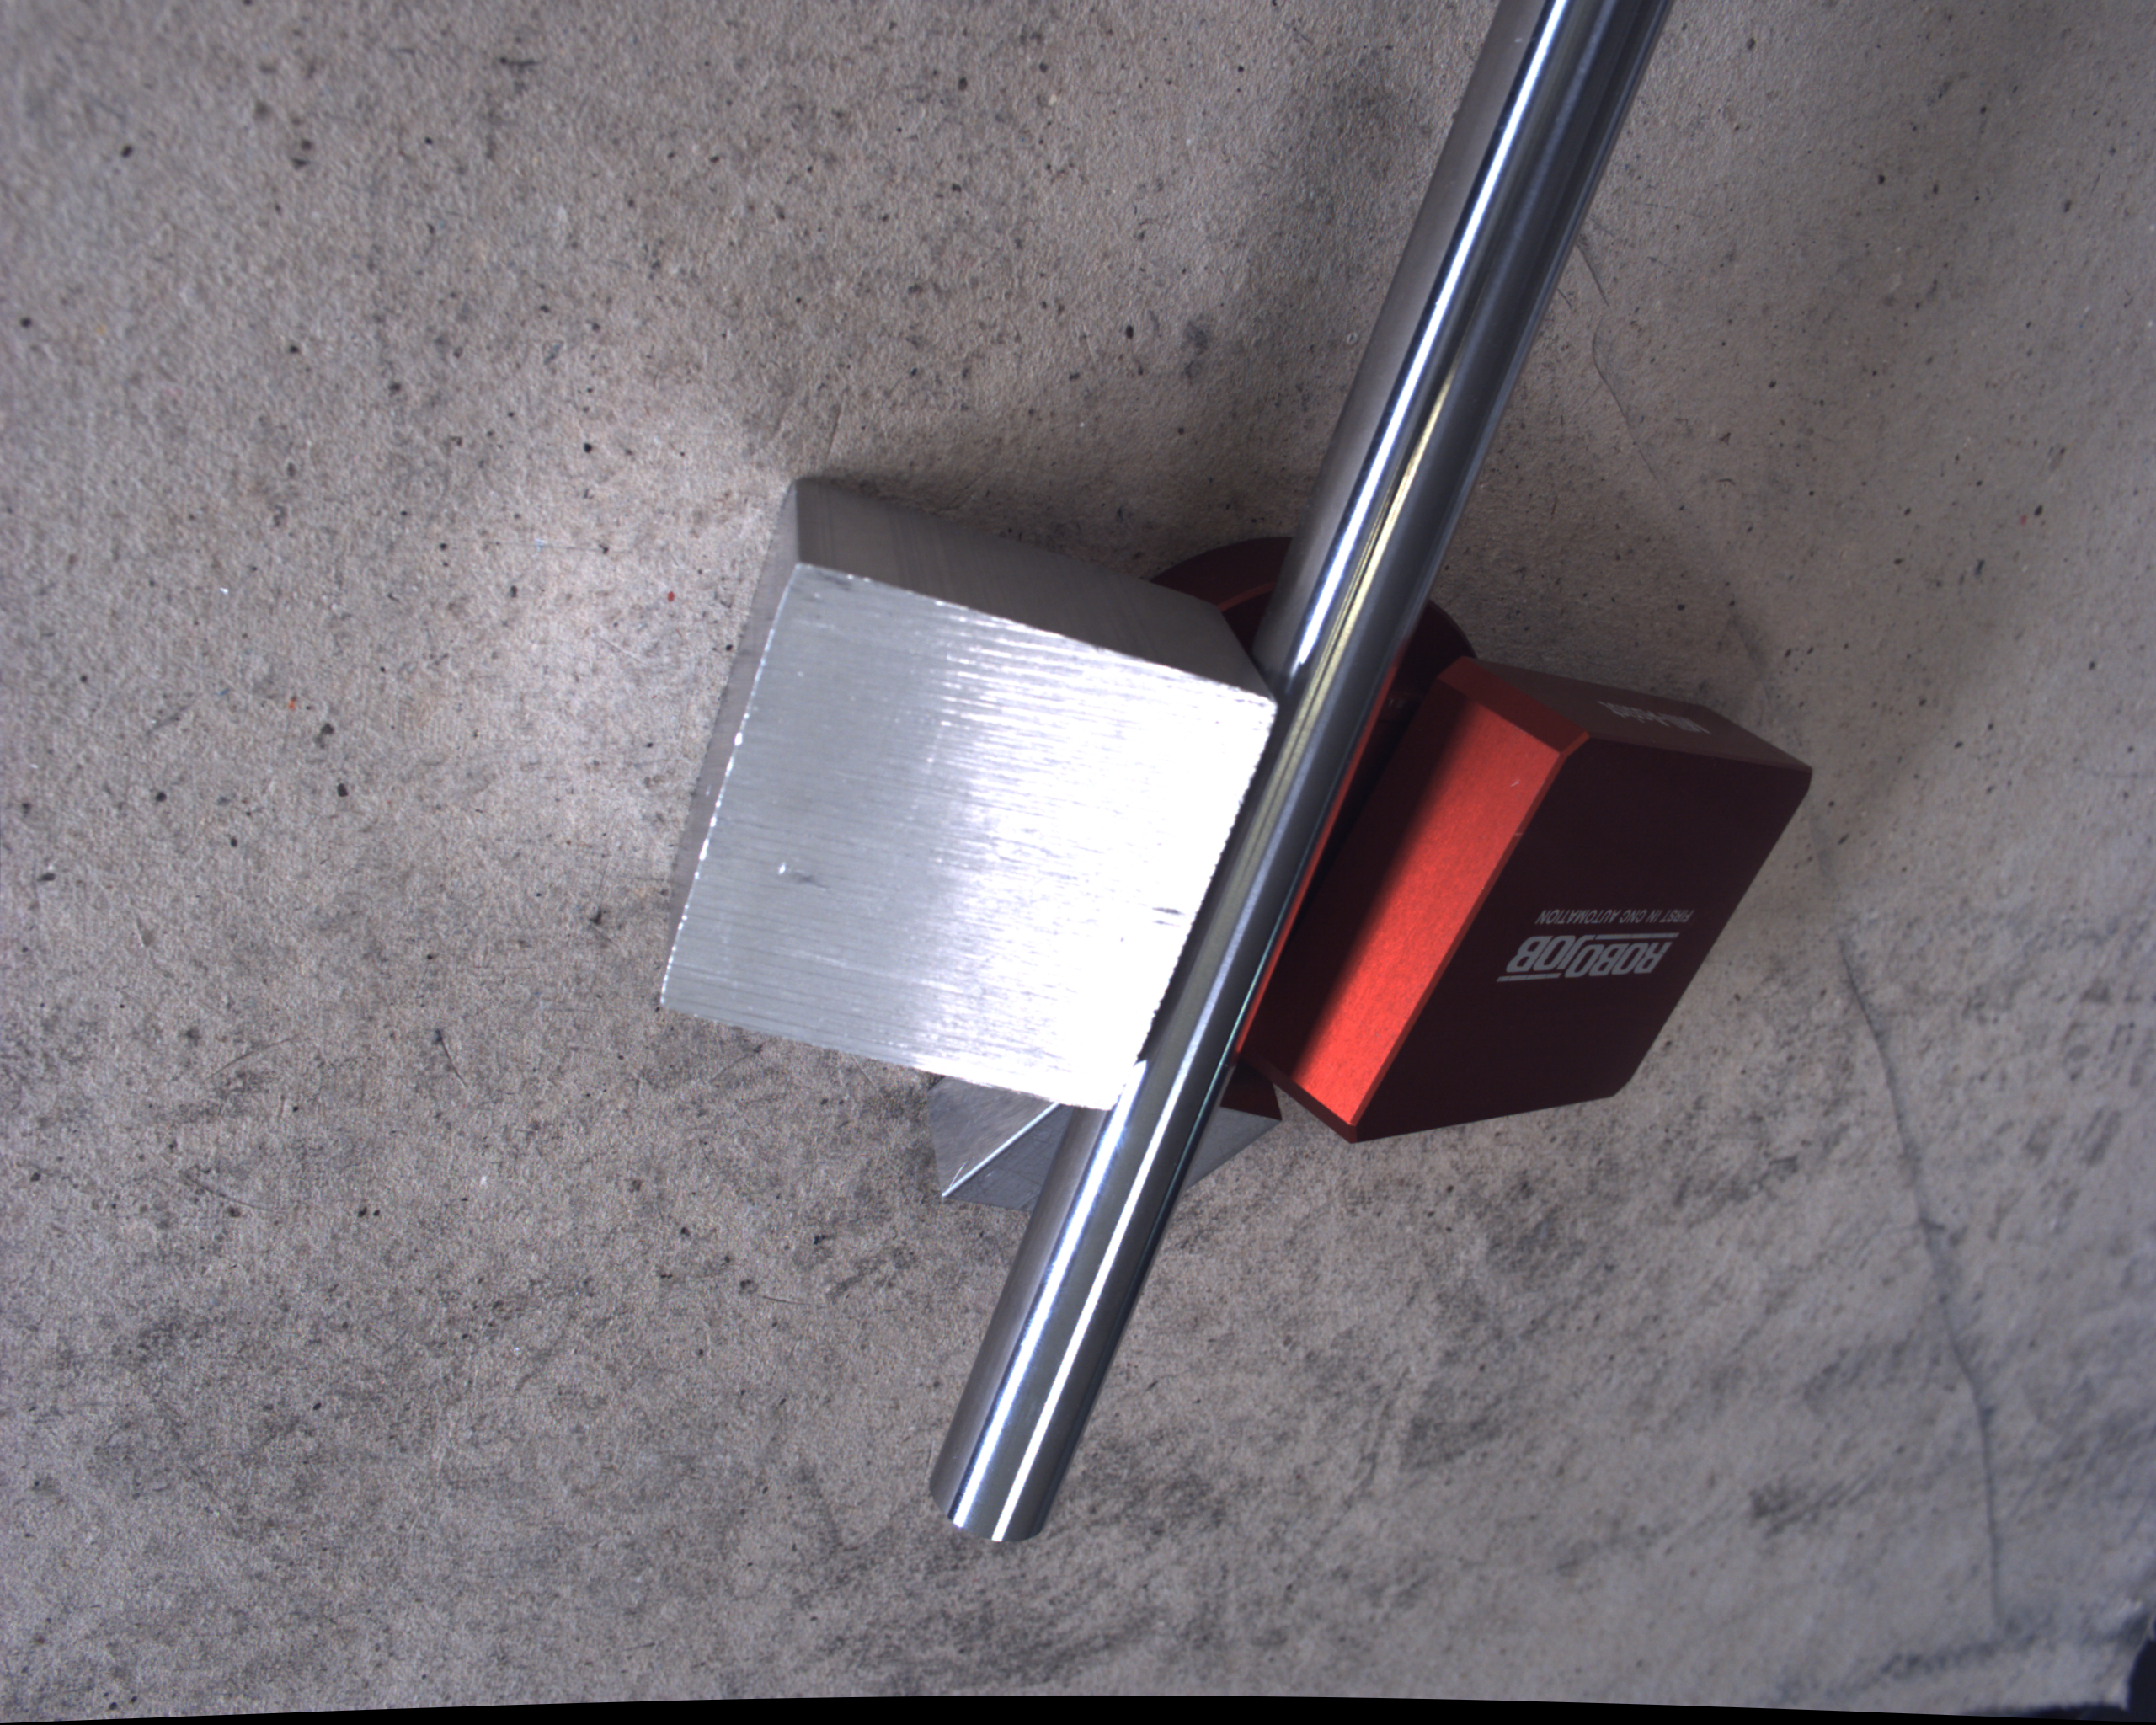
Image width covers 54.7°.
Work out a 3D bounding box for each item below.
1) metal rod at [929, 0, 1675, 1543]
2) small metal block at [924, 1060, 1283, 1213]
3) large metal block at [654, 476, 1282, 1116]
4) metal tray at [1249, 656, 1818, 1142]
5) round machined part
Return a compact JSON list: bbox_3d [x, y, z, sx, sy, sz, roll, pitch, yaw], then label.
[{"bbox_3d":[0.031,-0.005,0.368,0.025,0.025,0.298,8,112,-32],"label":"metal rod"},{"bbox_3d":[0.005,0.050,0.429,0.050,0.025,0.050,17,135,-35],"label":"small metal block"},{"bbox_3d":[-0.022,-0.011,0.359,0.081,0.050,0.079,15,112,-15],"label":"large metal block"},{"bbox_3d":[0.098,0.008,0.435,0.131,0.030,0.089,2,121,-52],"label":"metal tray"},{"bbox_3d":[0.042,-0.011,0.413,0.099,0.042,0.097,-14,124,-21],"label":"round machined part"}]
